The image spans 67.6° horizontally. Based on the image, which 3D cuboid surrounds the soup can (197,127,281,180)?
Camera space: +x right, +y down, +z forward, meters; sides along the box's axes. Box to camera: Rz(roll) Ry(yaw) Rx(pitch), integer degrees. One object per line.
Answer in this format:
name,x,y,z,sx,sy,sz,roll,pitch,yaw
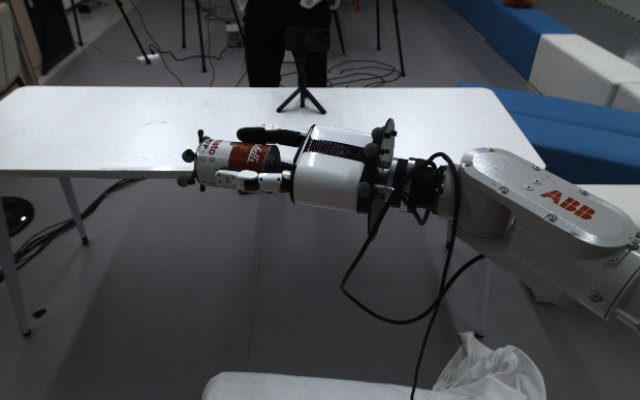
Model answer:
soup can,-0.112,-0.046,0.670,0.101,0.067,0.067,7,35,12
